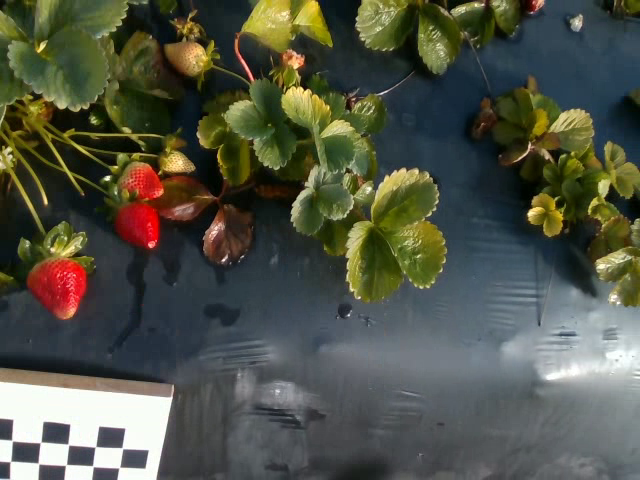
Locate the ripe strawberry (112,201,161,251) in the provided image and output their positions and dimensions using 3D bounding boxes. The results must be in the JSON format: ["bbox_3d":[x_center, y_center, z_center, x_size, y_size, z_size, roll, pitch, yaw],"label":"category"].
[{"bbox_3d":[-0.167,-0.009,0.564,0.055,0.045,0.041,50,18,28],"label":"ripe strawberry"}]

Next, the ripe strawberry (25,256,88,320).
[{"bbox_3d":[-0.229,0.043,0.535,0.050,0.065,0.050,-26,-29,7],"label":"ripe strawberry"}]
